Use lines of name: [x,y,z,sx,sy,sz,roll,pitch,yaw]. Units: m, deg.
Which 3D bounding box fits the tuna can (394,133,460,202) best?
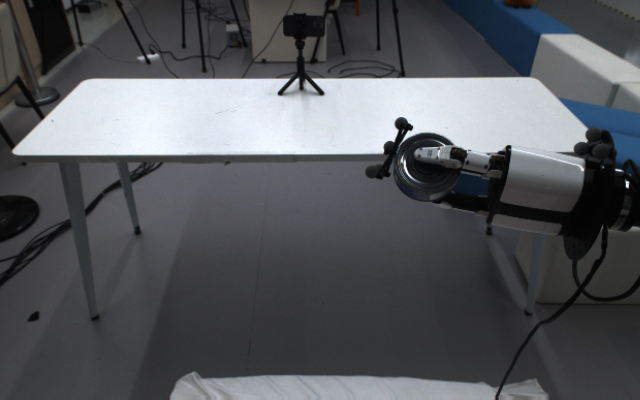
tuna can: [0.140,-0.045,0.627,0.085,0.034,0.085,-2,71,5]
